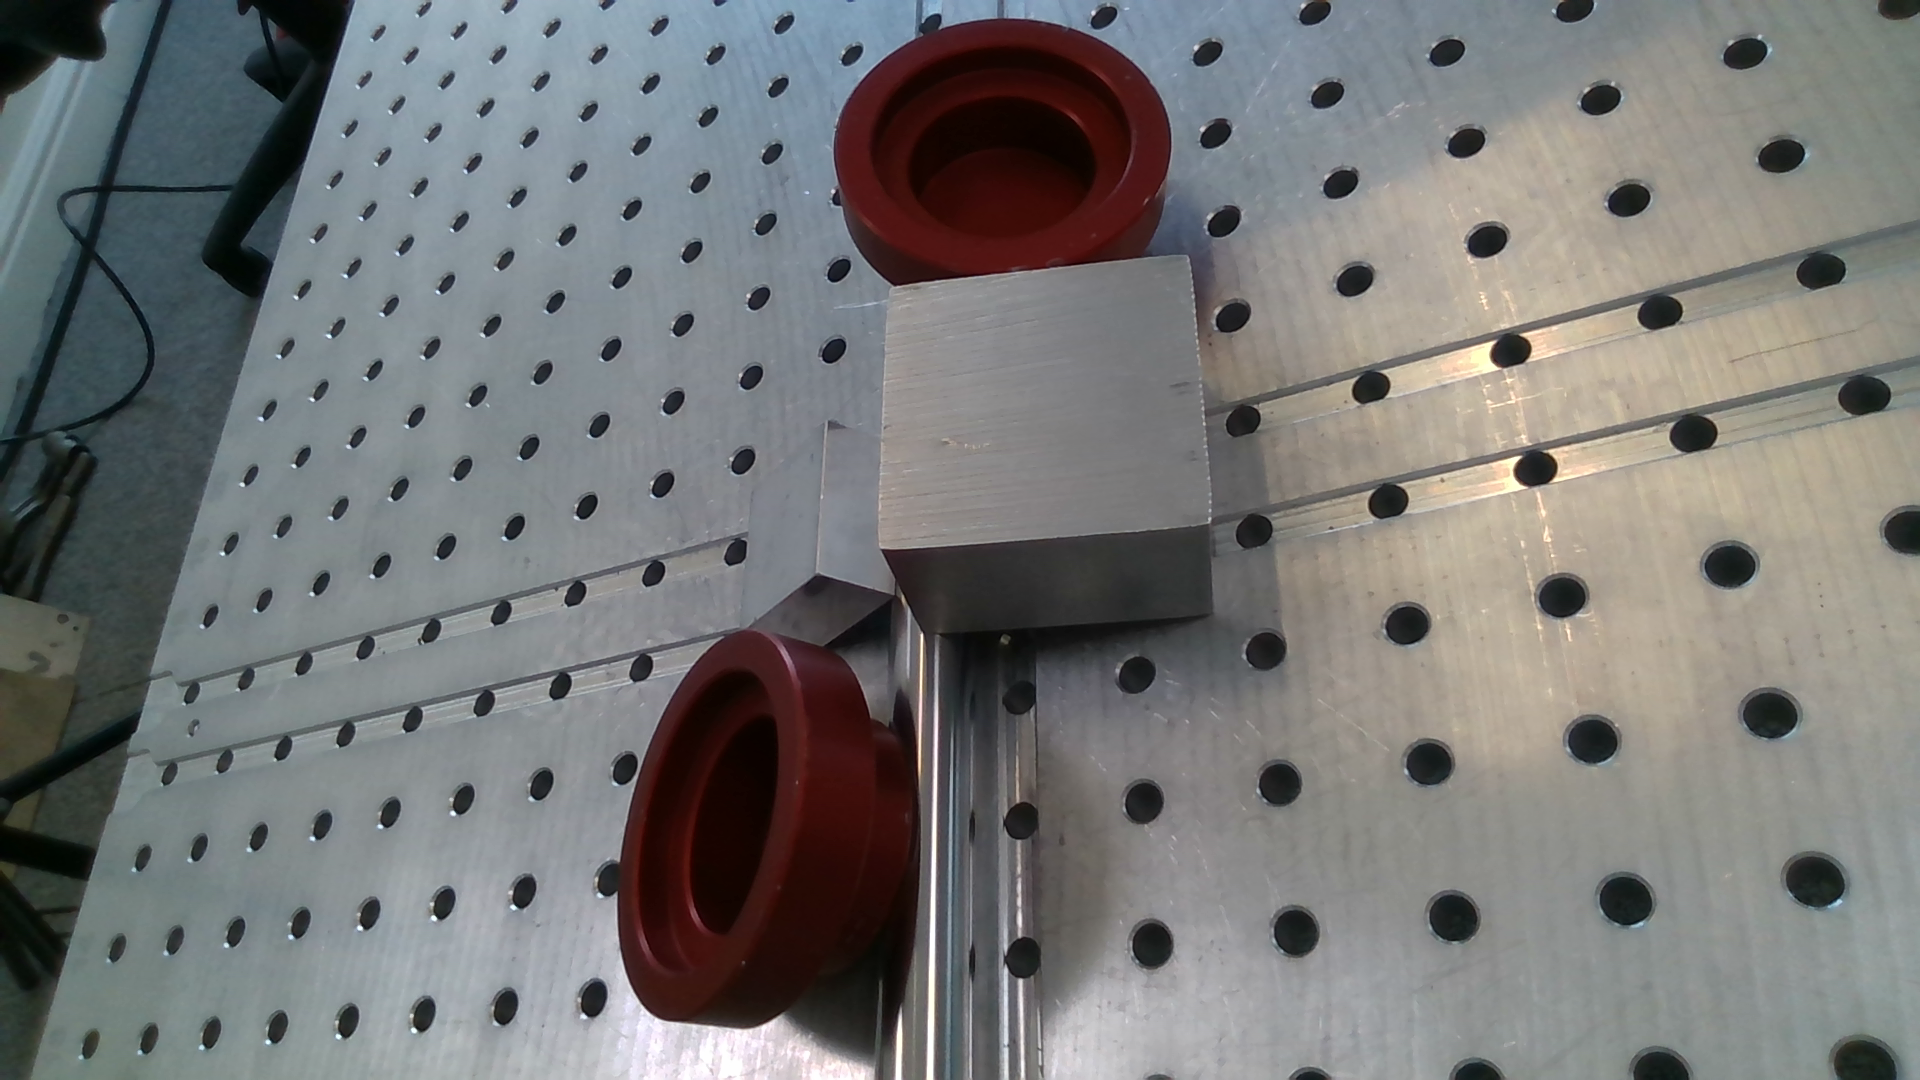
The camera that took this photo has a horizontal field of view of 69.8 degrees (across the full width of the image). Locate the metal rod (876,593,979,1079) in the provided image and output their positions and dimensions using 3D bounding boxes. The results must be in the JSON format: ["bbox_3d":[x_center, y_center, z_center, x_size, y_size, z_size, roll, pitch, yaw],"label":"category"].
[{"bbox_3d":[-0.007,0.005,0.399,0.025,0.025,0.299,-14,59,25],"label":"metal rod"}]

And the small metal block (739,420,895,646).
[{"bbox_3d":[-0.042,0.000,0.409,0.050,0.025,0.050,-36,46,48],"label":"small metal block"}]

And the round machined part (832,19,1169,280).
[{"bbox_3d":[0.012,-0.107,0.418,0.098,0.042,0.098,-1,62,2],"label":"round machined part"}]

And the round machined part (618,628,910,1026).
[{"bbox_3d":[-0.049,0.076,0.359,0.098,0.042,0.098,-33,48,45],"label":"round machined part"}]

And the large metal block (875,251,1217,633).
[{"bbox_3d":[0.024,-0.025,0.364,0.080,0.050,0.080,-4,62,9],"label":"large metal block"}]
